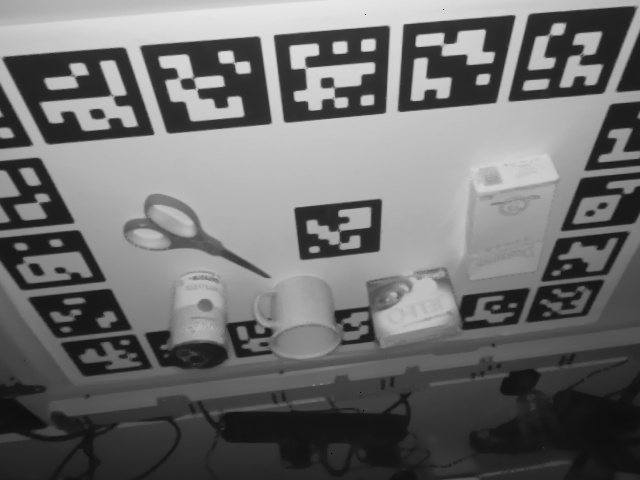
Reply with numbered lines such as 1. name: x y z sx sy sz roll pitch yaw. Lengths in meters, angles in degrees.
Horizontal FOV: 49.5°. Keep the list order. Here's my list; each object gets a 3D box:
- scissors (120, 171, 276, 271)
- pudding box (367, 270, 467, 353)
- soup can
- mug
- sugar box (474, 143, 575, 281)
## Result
1. scissors: -0.128 -0.005 0.789 0.204 0.016 0.087 33 114 -35
2. pudding box: 0.121 0.091 0.877 0.114 0.090 0.038 -11 131 4
3. soup can: -0.144 0.086 0.835 0.068 0.102 0.067 -5 139 -4
4. mug: -0.028 0.100 0.873 0.092 0.082 0.118 -33 133 21
5. sugar box: 0.234 -0.027 0.811 0.093 0.045 0.175 -9 136 -2
